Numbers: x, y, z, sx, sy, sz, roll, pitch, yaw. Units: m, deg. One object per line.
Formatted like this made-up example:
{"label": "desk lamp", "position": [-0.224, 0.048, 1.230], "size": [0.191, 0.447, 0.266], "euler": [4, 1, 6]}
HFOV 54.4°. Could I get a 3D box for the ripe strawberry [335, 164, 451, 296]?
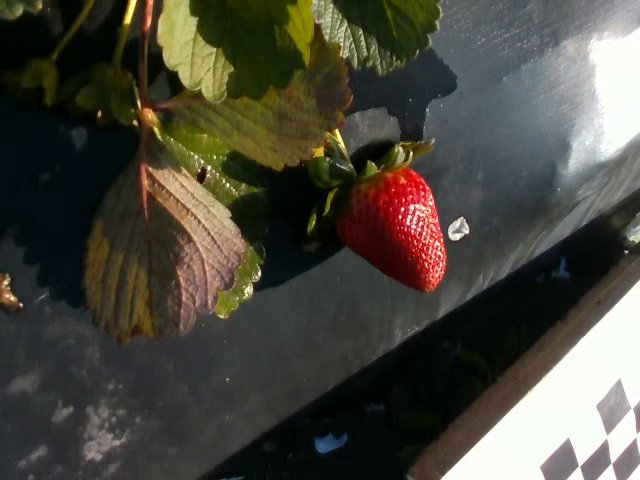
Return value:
{"label": "ripe strawberry", "position": [0.030, -0.002, 0.227], "size": [0.045, 0.055, 0.041], "euler": [-30, -6, -28]}
